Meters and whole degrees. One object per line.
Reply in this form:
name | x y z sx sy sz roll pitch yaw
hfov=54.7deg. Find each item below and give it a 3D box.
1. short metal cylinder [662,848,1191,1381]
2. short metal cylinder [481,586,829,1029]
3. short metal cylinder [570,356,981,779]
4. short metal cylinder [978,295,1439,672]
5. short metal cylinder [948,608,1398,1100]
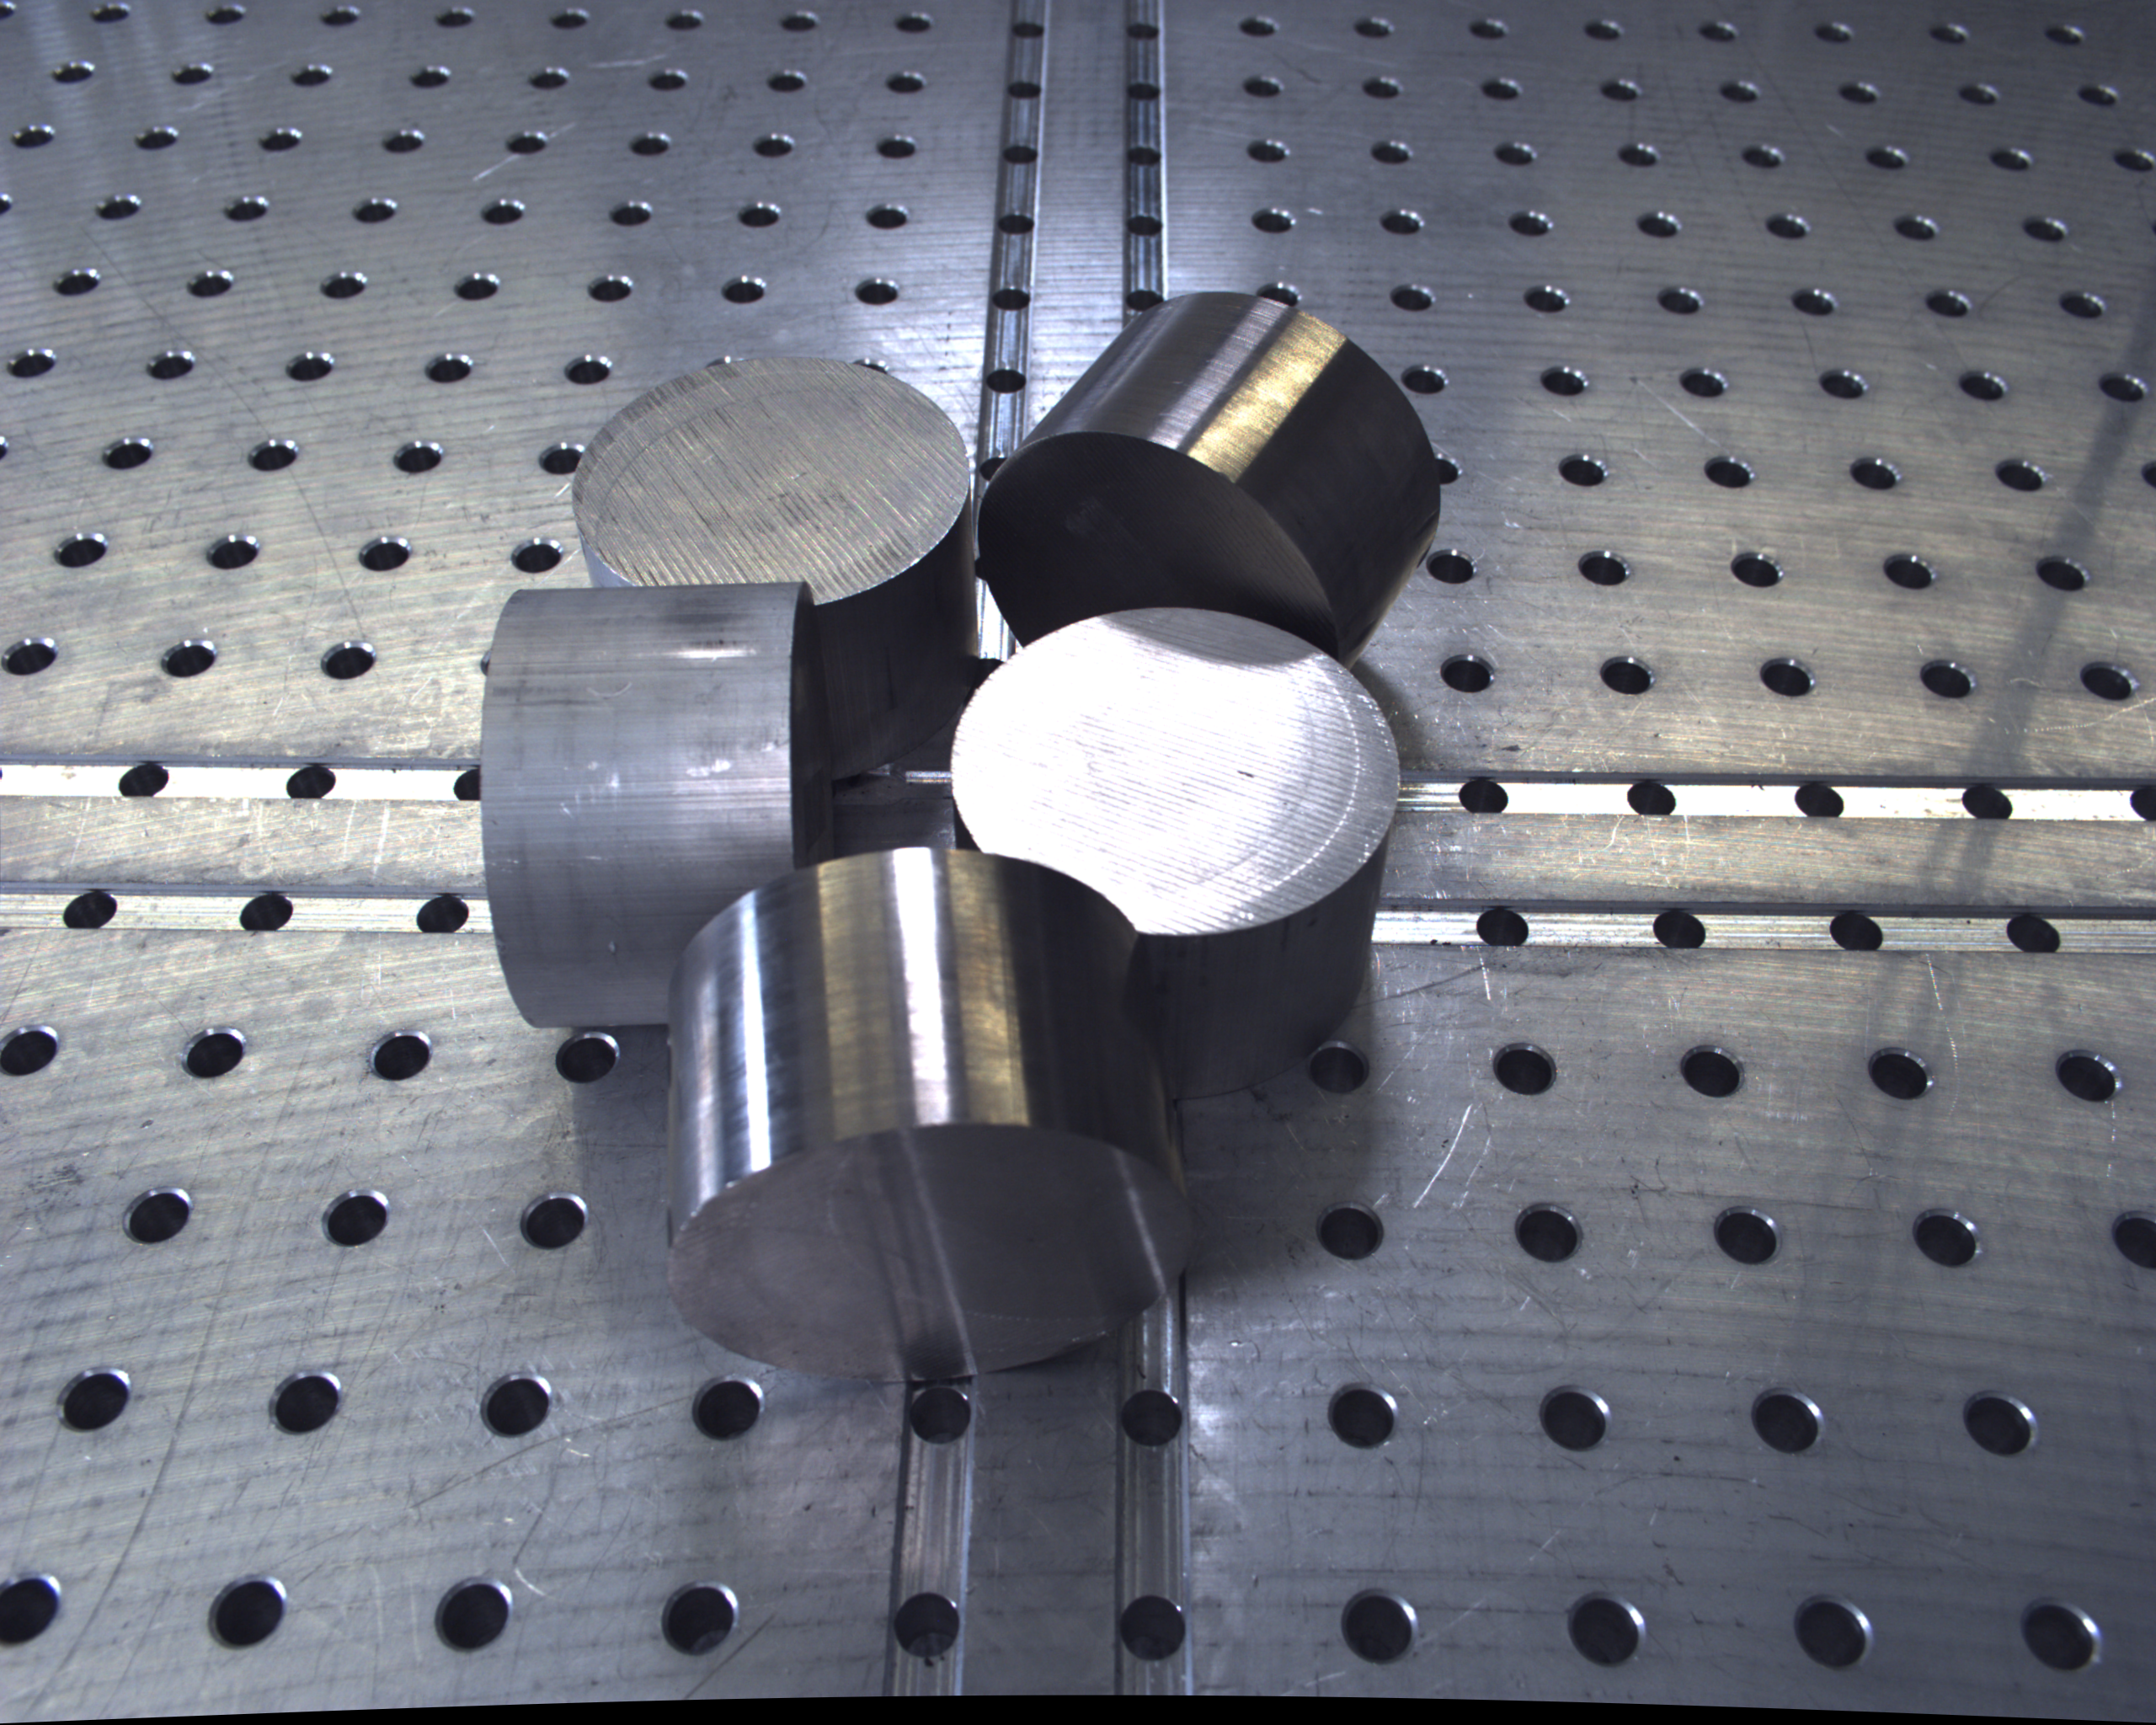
short metal cylinder | -0.025 0.042 0.335 0.081 0.080 0.050 -5 51 -4
short metal cylinder | -0.073 -0.010 0.381 0.050 0.080 0.080 -1 50 -2
short metal cylinder | -0.062 -0.063 0.443 0.080 0.050 0.080 0 50 1
short metal cylinder | 0.027 -0.068 0.429 0.080 0.080 0.050 23 53 18
short metal cylinder | 0.017 -0.002 0.393 0.081 0.050 0.080 1 50 0
